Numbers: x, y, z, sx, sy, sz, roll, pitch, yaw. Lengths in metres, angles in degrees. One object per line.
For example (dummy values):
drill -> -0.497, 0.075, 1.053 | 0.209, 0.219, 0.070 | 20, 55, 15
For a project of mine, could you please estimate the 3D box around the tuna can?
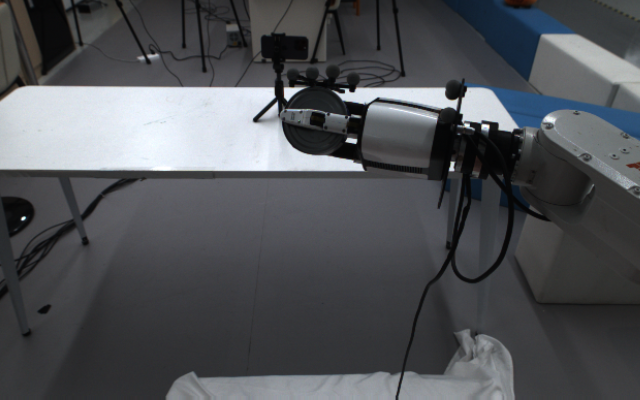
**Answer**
tuna can -> -0.003, -0.102, 0.623 | 0.085, 0.085, 0.034 | 11, 2, 13
